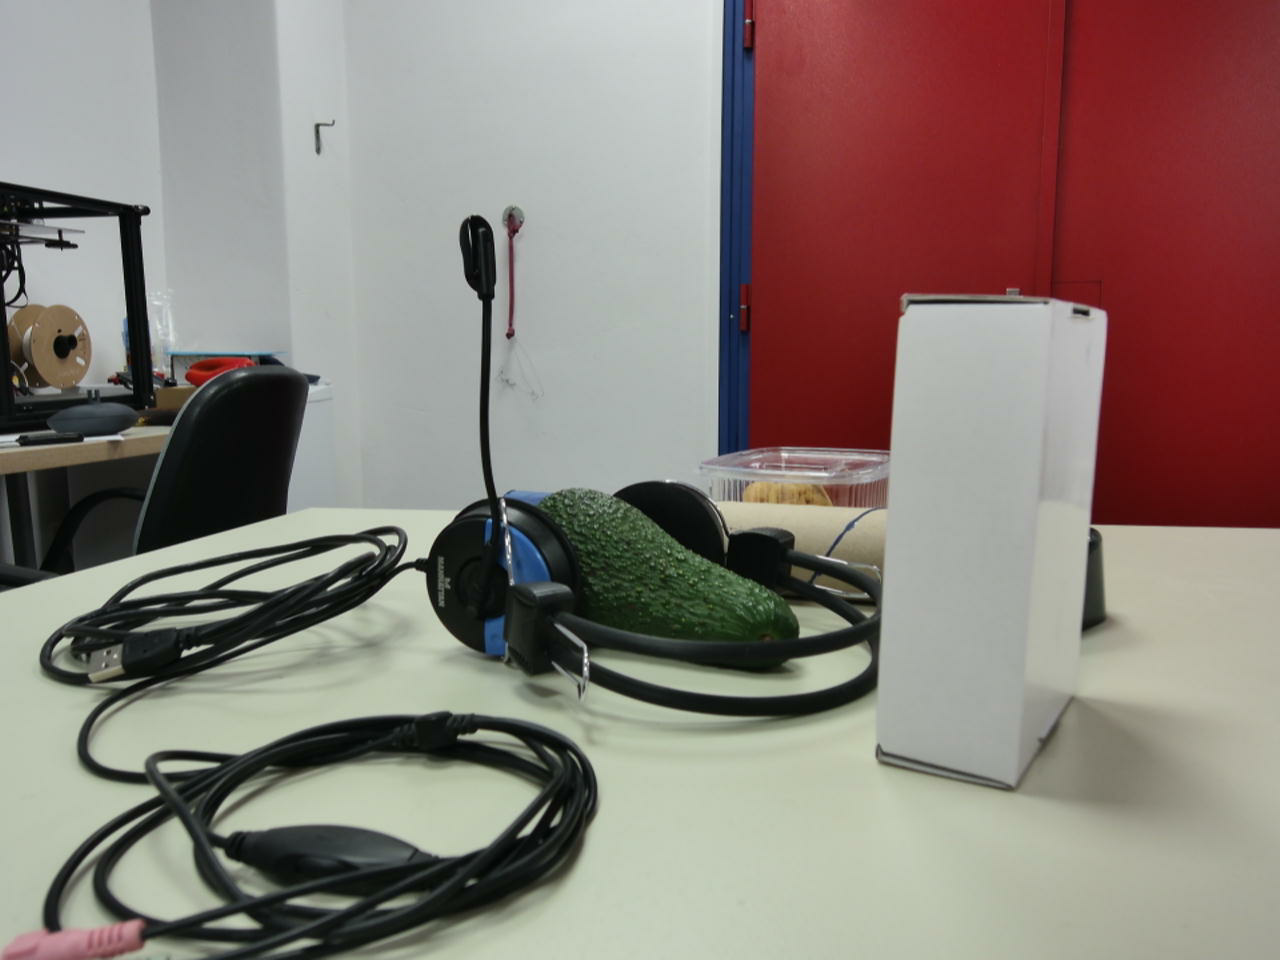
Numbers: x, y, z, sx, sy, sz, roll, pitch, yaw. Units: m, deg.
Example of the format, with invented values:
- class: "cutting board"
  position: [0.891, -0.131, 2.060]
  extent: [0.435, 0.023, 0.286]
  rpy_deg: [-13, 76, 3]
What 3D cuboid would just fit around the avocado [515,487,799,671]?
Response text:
- class: "avocado"
  position: [0.007, 0.038, 0.426]
  extent: [0.141, 0.067, 0.063]
  rpy_deg: [3, 4, 28]
